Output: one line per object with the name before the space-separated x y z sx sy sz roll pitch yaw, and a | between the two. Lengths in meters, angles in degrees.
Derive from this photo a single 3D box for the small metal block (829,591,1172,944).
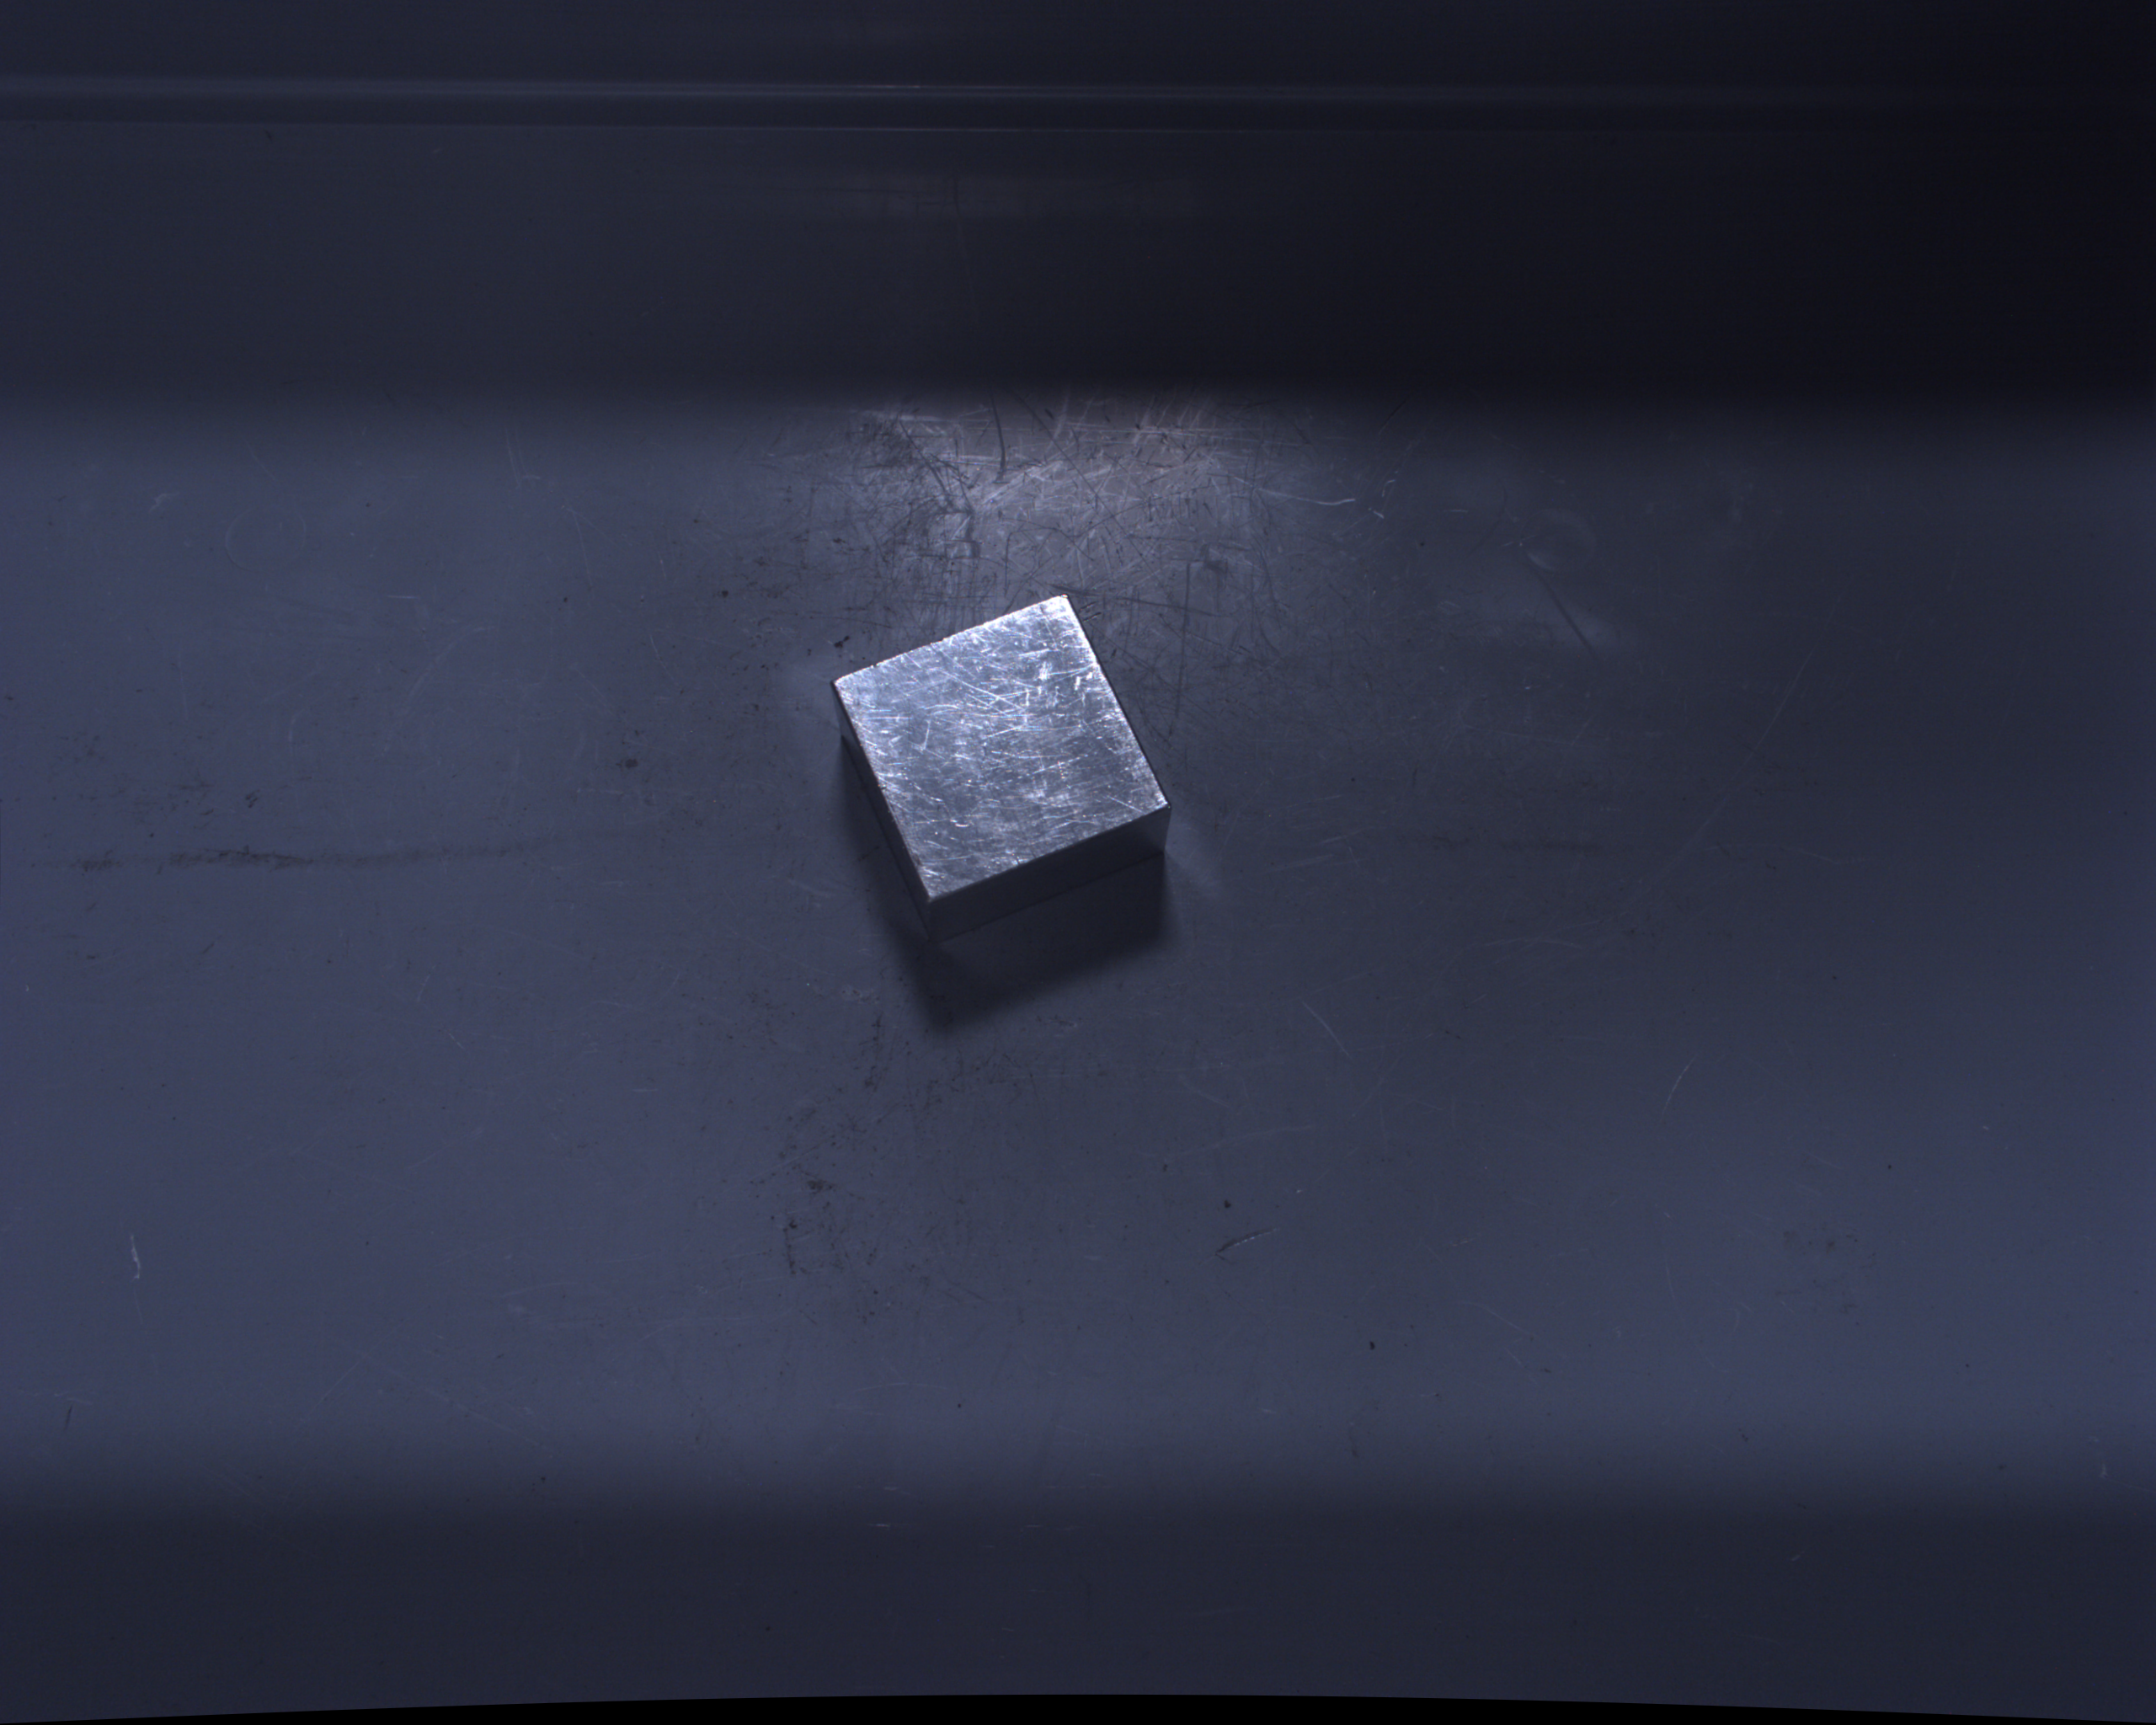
small metal block | -0.015 -0.019 0.413 0.050 0.025 0.050 -22 72 -8
